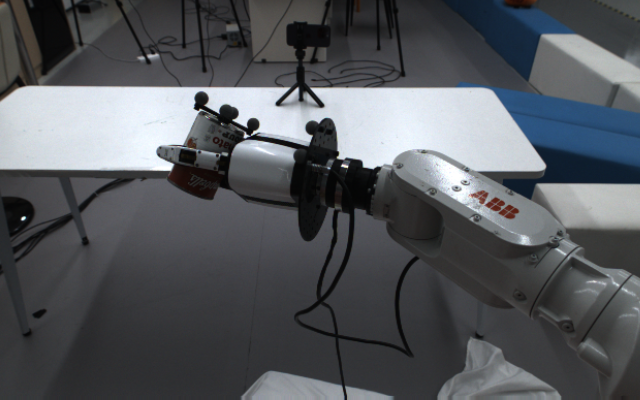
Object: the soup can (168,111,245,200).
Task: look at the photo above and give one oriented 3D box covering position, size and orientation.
[{"bbox_3d":[-0.153,-0.059,0.649,0.067,0.101,0.067,27,6,-3],"label":"soup can"}]
